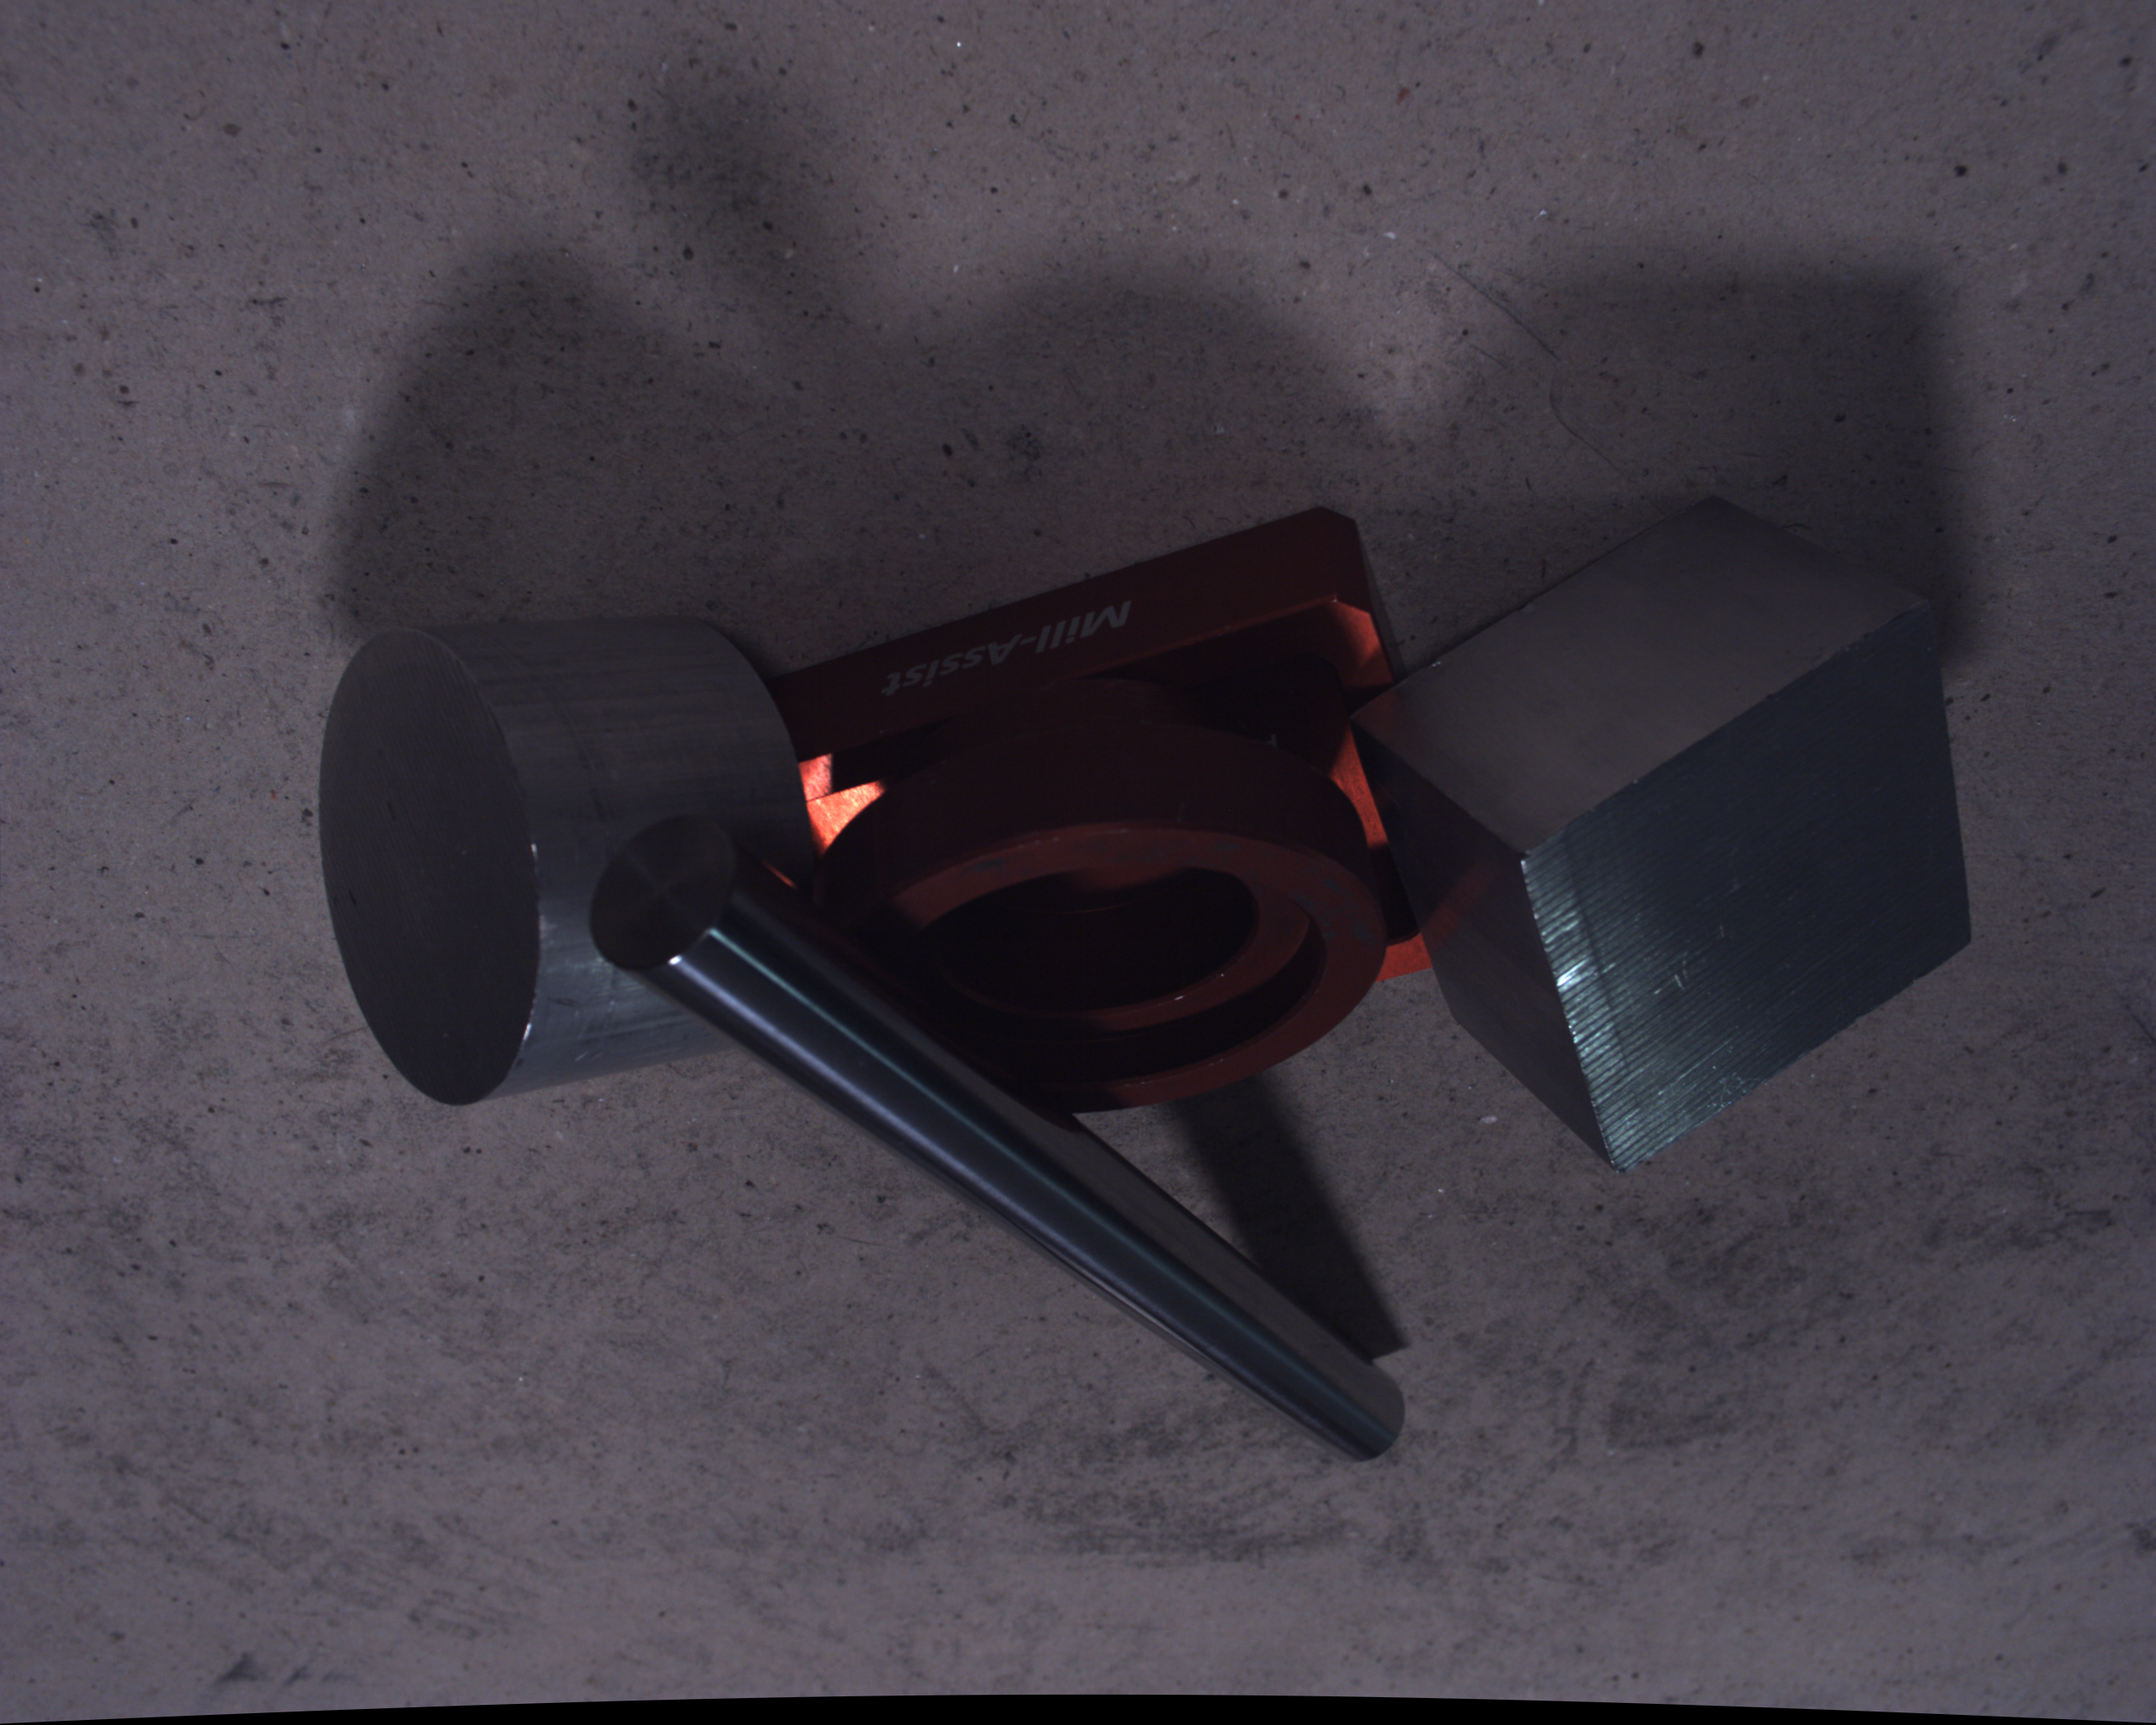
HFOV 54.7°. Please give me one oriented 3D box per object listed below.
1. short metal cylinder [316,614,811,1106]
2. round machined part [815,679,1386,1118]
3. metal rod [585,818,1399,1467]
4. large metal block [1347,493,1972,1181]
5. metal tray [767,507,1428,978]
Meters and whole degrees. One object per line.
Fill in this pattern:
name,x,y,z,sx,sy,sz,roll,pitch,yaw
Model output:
short metal cylinder,-0.090,-0.002,0.361,0.050,0.080,0.079,-10,142,-42
round machined part,0.002,0.005,0.370,0.099,0.042,0.098,-4,146,-3
metal rod,0.005,0.073,0.413,0.025,0.025,0.300,-21,144,17
large metal block,0.104,-0.005,0.368,0.080,0.050,0.080,-32,128,-8
metal tray,0.002,-0.006,0.400,0.130,0.030,0.090,-16,129,12
